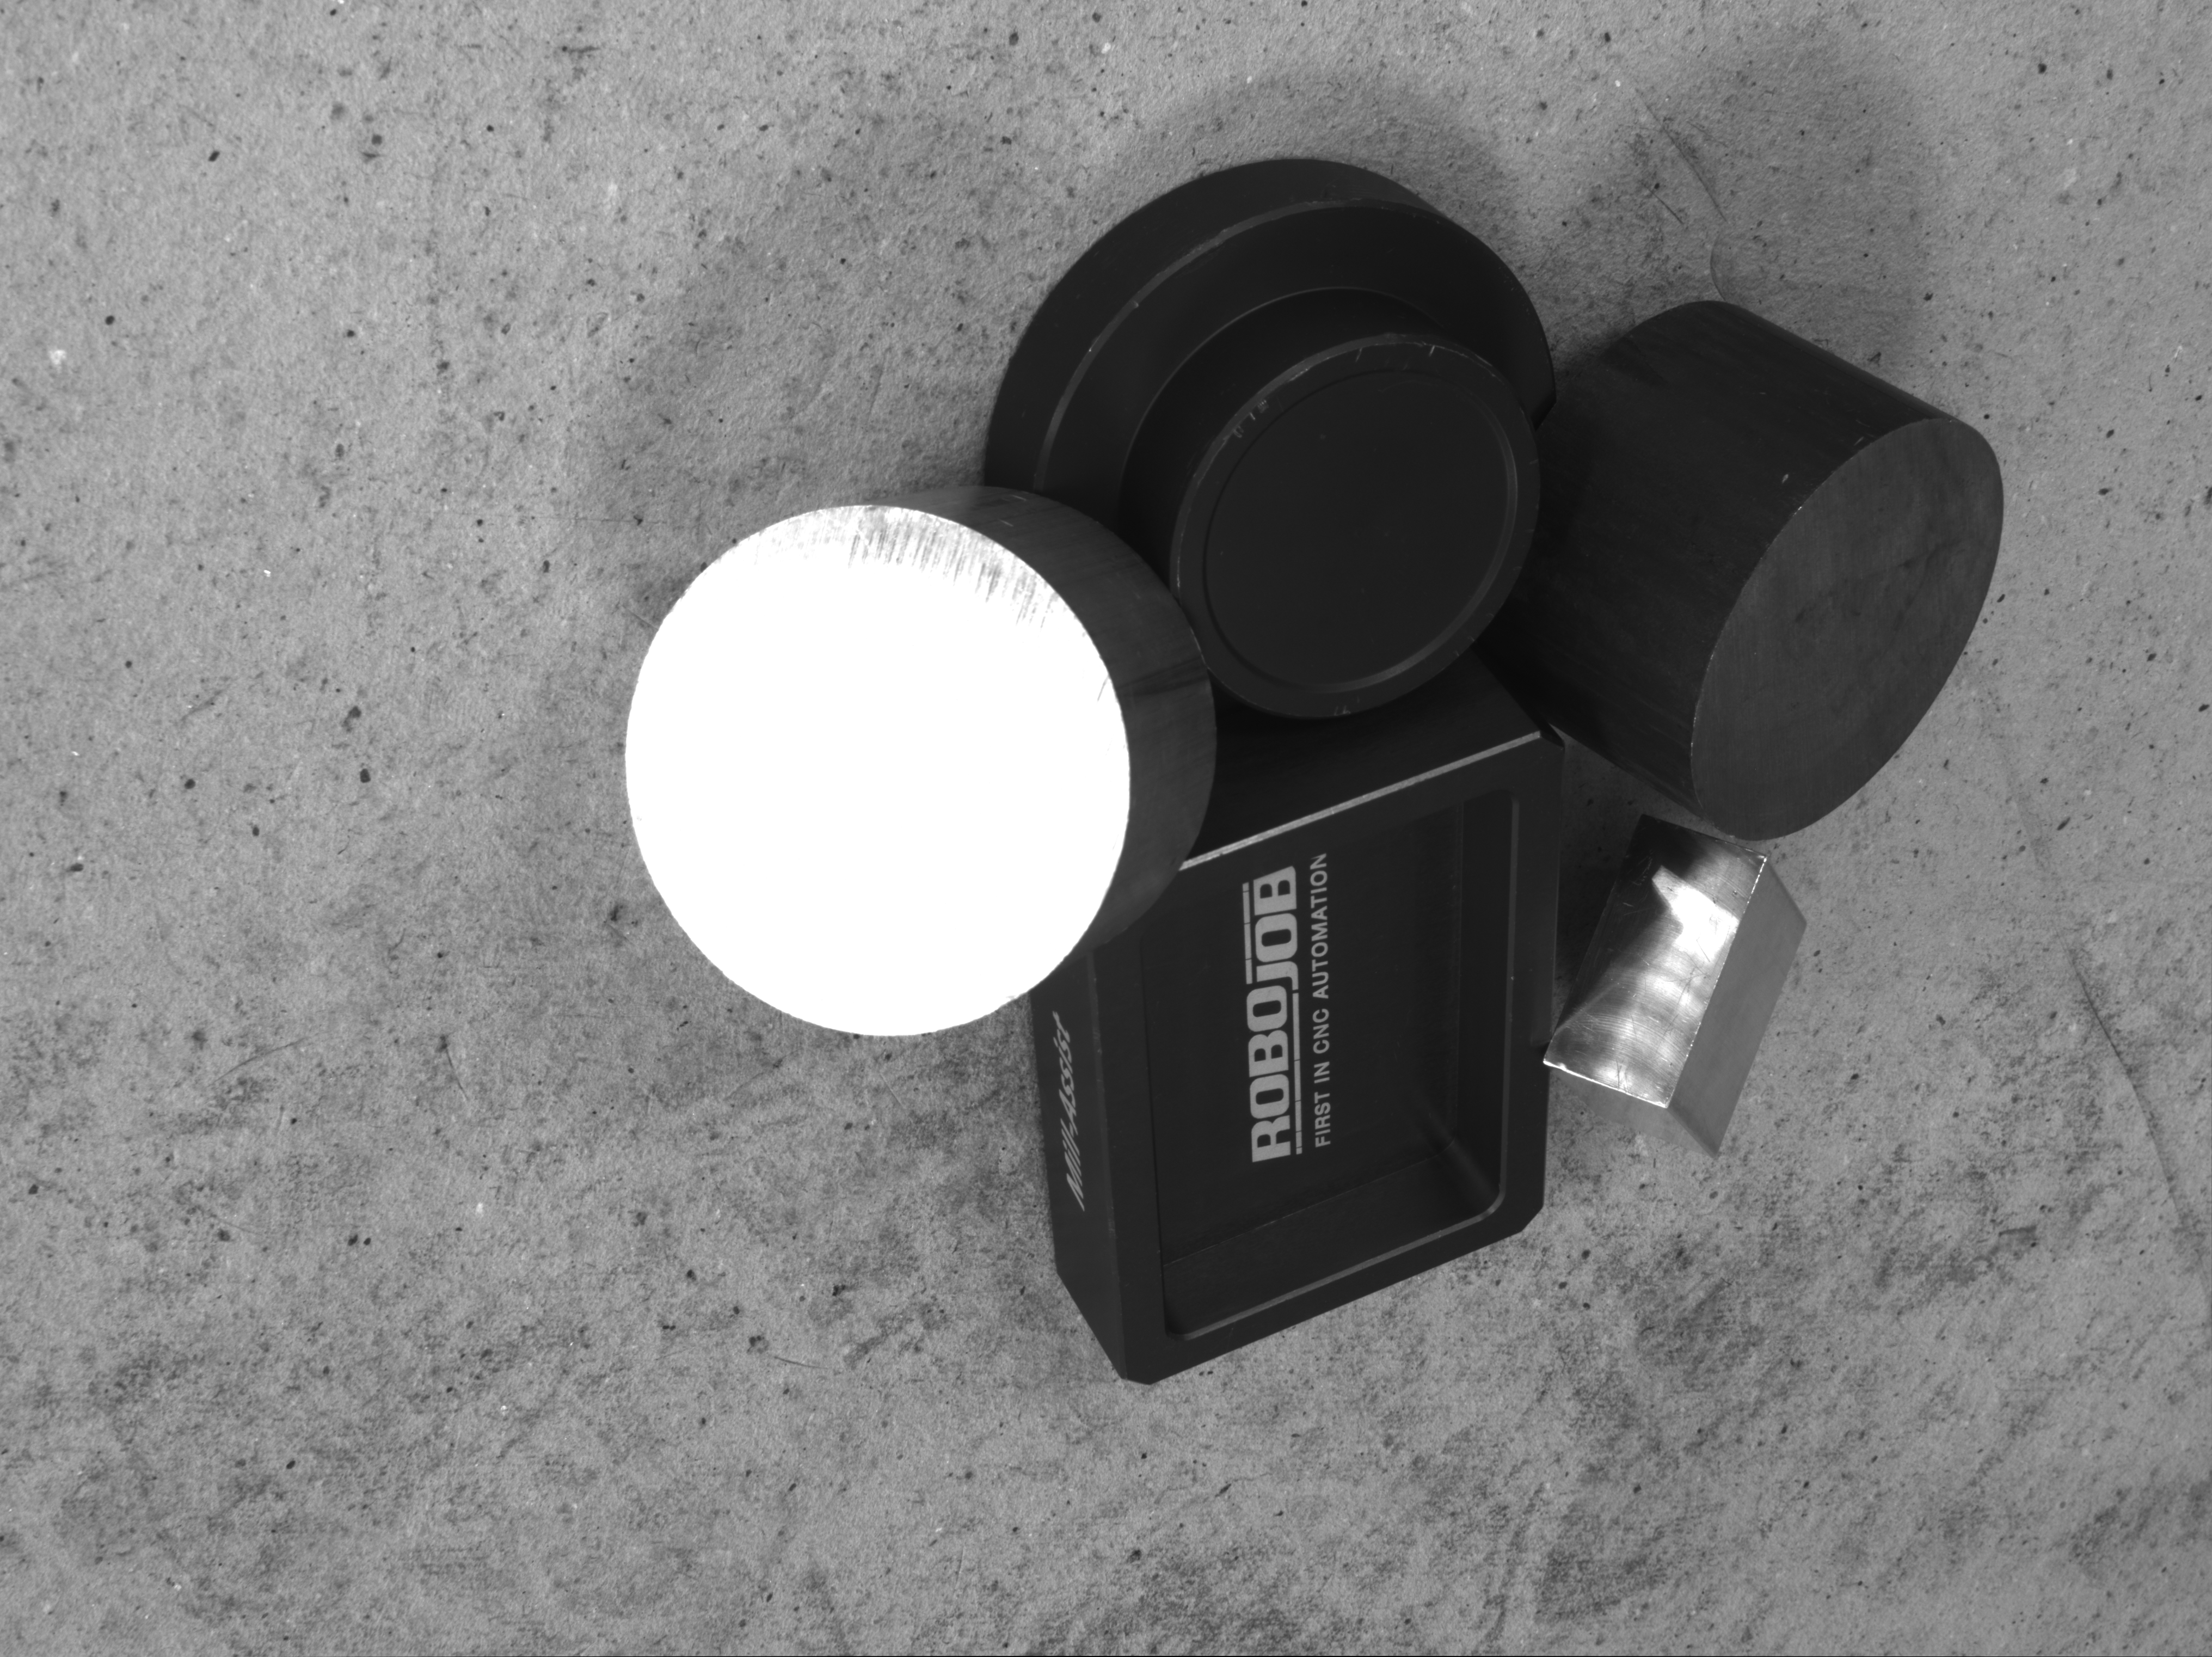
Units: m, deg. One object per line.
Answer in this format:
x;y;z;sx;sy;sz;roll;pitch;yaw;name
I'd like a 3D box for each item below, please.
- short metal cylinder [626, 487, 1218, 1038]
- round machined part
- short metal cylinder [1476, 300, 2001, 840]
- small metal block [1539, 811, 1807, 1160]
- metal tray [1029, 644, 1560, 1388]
-0.028;-0.012;0.572;0.080;0.080;0.050;-61;170;16;short metal cylinder
0.032;-0.058;0.610;0.098;0.042;0.098;-13;124;-21;round machined part
0.110;-0.045;0.640;0.080;0.050;0.080;-29;137;-31;short metal cylinder
0.108;0.030;0.691;0.050;0.025;0.050;-67;156;-8;small metal block
0.034;0.035;0.660;0.090;0.030;0.130;-20;135;-16;metal tray
